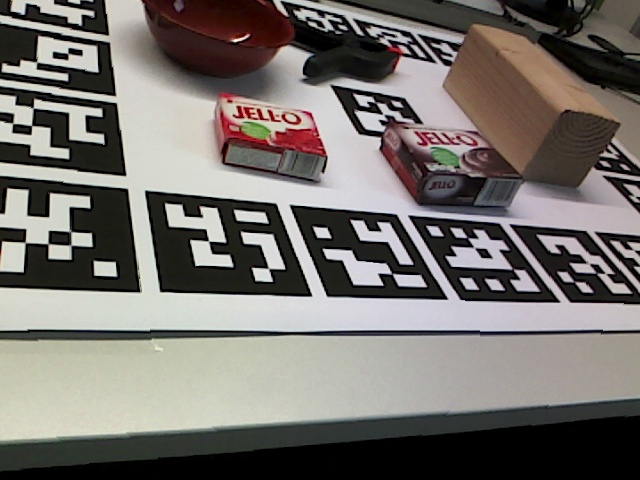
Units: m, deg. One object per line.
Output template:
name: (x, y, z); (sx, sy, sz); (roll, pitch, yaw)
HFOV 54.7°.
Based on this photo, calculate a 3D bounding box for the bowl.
bowl: (-0.114, -0.210, 0.644); (0.161, 0.055, 0.162); (15, 41, -14)

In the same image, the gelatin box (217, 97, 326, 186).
gelatin box: (-0.045, -0.087, 0.542); (0.089, 0.030, 0.073); (8, 42, -19)

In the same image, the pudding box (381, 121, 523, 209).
pudding box: (0.128, -0.073, 0.611); (0.113, 0.038, 0.090); (0, 47, -24)

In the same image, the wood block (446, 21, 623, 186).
wood block: (0.246, -0.166, 0.739); (0.089, 0.091, 0.207); (5, 42, -24)

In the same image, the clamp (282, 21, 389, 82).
clamp: (0.016, -0.225, 0.747); (0.164, 0.036, 0.122); (-5, 46, -34)
